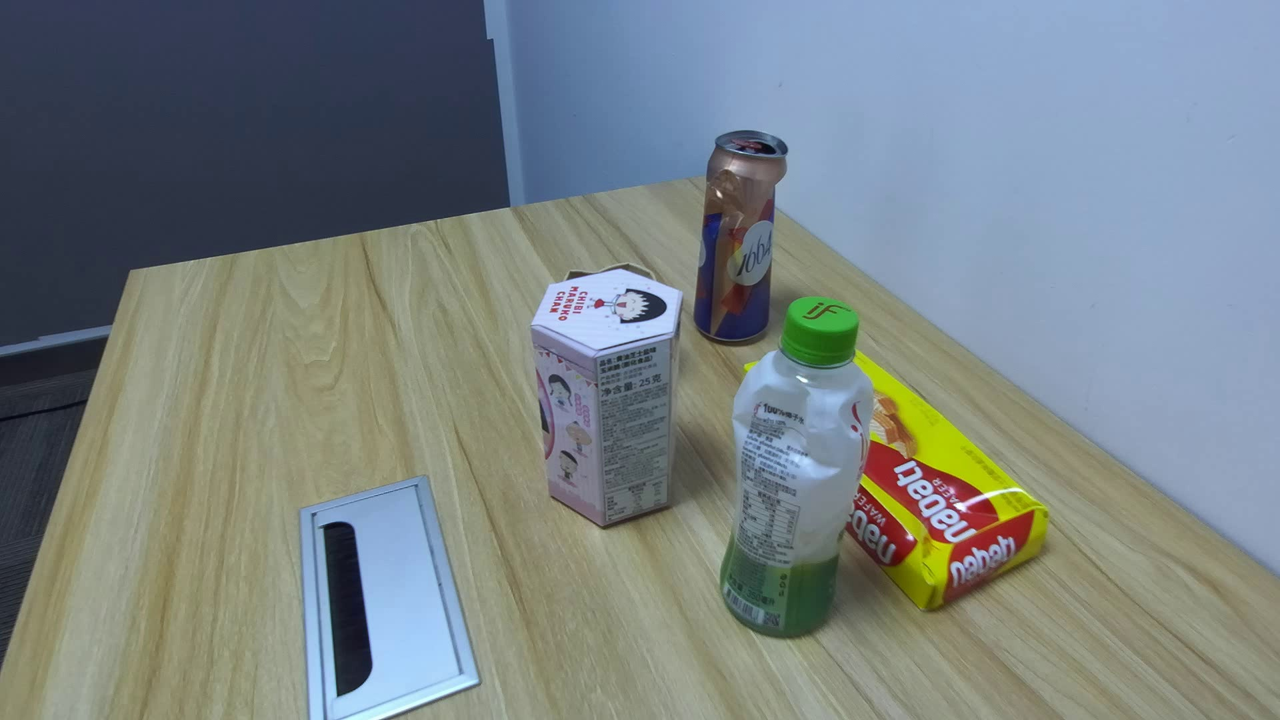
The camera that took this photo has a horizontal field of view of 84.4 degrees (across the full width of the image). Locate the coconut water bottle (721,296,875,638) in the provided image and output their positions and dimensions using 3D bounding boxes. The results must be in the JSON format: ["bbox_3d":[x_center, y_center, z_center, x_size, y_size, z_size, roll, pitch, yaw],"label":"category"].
[{"bbox_3d":[0.078,0.057,0.348,0.067,0.187,0.067,0,34,0],"label":"coconut water bottle"}]

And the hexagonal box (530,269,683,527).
[{"bbox_3d":[-0.018,0.025,0.434,0.084,0.136,0.091,5,36,6],"label":"hexagonal box"}]

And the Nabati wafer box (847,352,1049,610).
[{"bbox_3d":[0.157,0.060,0.468,0.097,0.042,0.202,-14,40,-21],"label":"Nabati wafer box"}]

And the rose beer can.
[{"bbox_3d":[0.082,-0.094,0.571,0.065,0.167,0.076,30,42,33],"label":"rose beer can"}]
